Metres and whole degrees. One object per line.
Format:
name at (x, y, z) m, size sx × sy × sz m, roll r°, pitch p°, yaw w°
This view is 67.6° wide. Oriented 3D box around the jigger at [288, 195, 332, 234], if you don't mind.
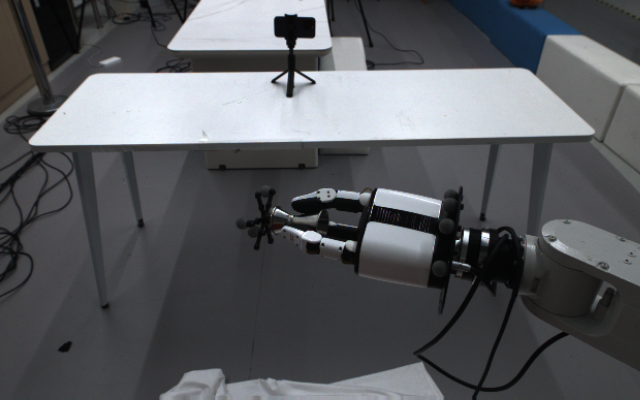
jigger at (-0.019, 0.023, 0.639) m, size 0.071 × 0.043 × 0.043 m, roll 5°, pitch 34°, yaw 20°
